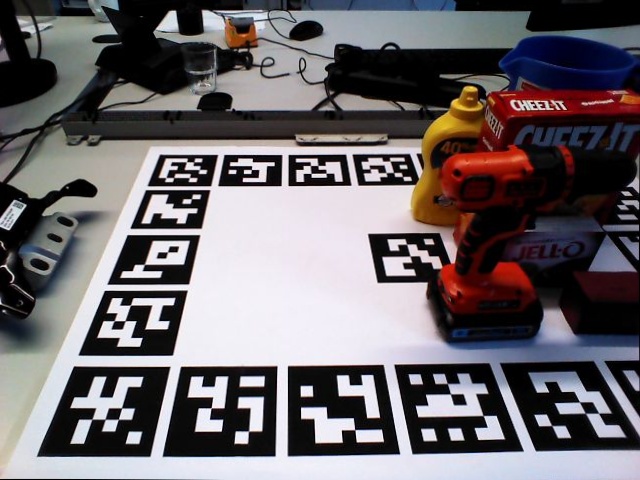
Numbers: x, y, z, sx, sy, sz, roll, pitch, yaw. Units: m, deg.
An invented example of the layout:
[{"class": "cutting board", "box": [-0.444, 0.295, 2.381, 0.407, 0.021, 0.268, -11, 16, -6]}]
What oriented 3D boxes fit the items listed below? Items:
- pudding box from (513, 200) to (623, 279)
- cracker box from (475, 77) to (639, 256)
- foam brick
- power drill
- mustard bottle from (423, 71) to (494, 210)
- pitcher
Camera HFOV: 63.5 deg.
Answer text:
[{"class": "pudding box", "box": [0.279, 0.000, 0.607, 0.114, 0.090, 0.038, -3, 39, 2]}, {"class": "cracker box", "box": [0.285, -0.072, 0.610, 0.164, 0.214, 0.071, -4, 38, -1]}, {"class": "foam brick", "box": [0.338, 0.065, 0.579, 0.078, 0.051, 0.052, 0, 42, 1]}, {"class": "power drill", "box": [0.218, -0.012, 0.515, 0.185, 0.187, 0.057, -2, 37, -2]}, {"class": "mustard bottle", "box": [0.196, -0.130, 0.691, 0.096, 0.192, 0.058, 7, 42, 10]}, {"class": "pitcher", "box": [0.329, -0.142, 0.685, 0.189, 0.243, 0.132, 1, 40, 5]}]
